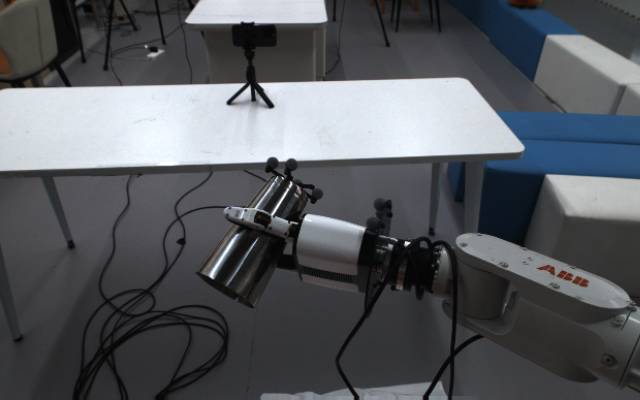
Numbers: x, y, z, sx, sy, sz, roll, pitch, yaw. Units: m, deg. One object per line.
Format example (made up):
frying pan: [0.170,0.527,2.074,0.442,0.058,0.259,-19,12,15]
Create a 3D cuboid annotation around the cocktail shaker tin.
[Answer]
cocktail shaker tin: [-0.084,0.049,0.670,0.093,0.093,0.170,20,67,23]
